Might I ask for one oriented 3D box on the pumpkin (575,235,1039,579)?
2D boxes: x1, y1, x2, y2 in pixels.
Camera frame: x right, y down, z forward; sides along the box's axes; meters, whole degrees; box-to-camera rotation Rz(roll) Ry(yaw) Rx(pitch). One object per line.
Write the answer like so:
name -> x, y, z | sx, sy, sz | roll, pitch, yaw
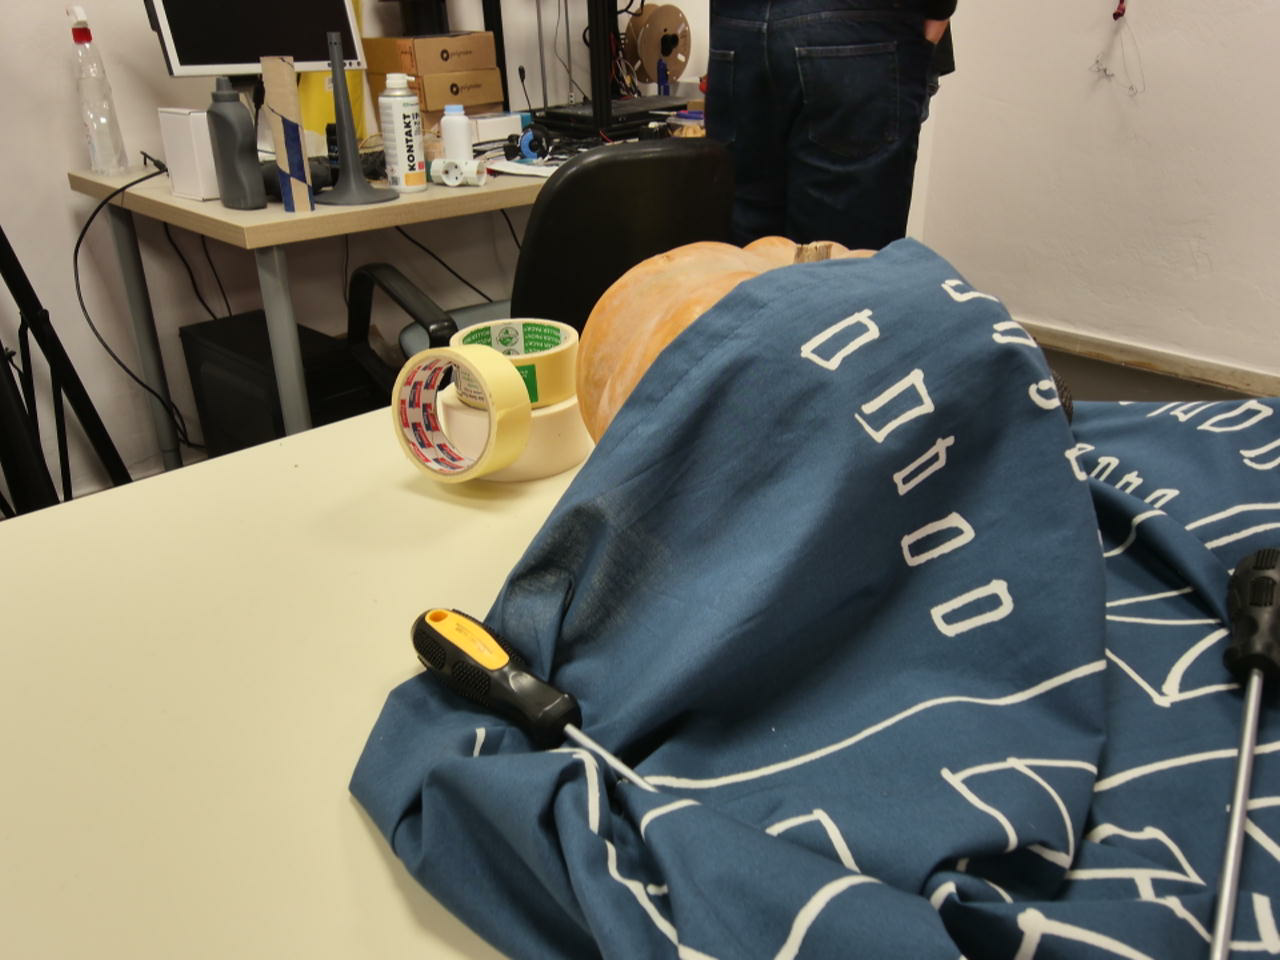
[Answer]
pumpkin -> 0.092, -0.052, 0.602 | 0.277, 0.181, 0.277 | 0, 25, 0
